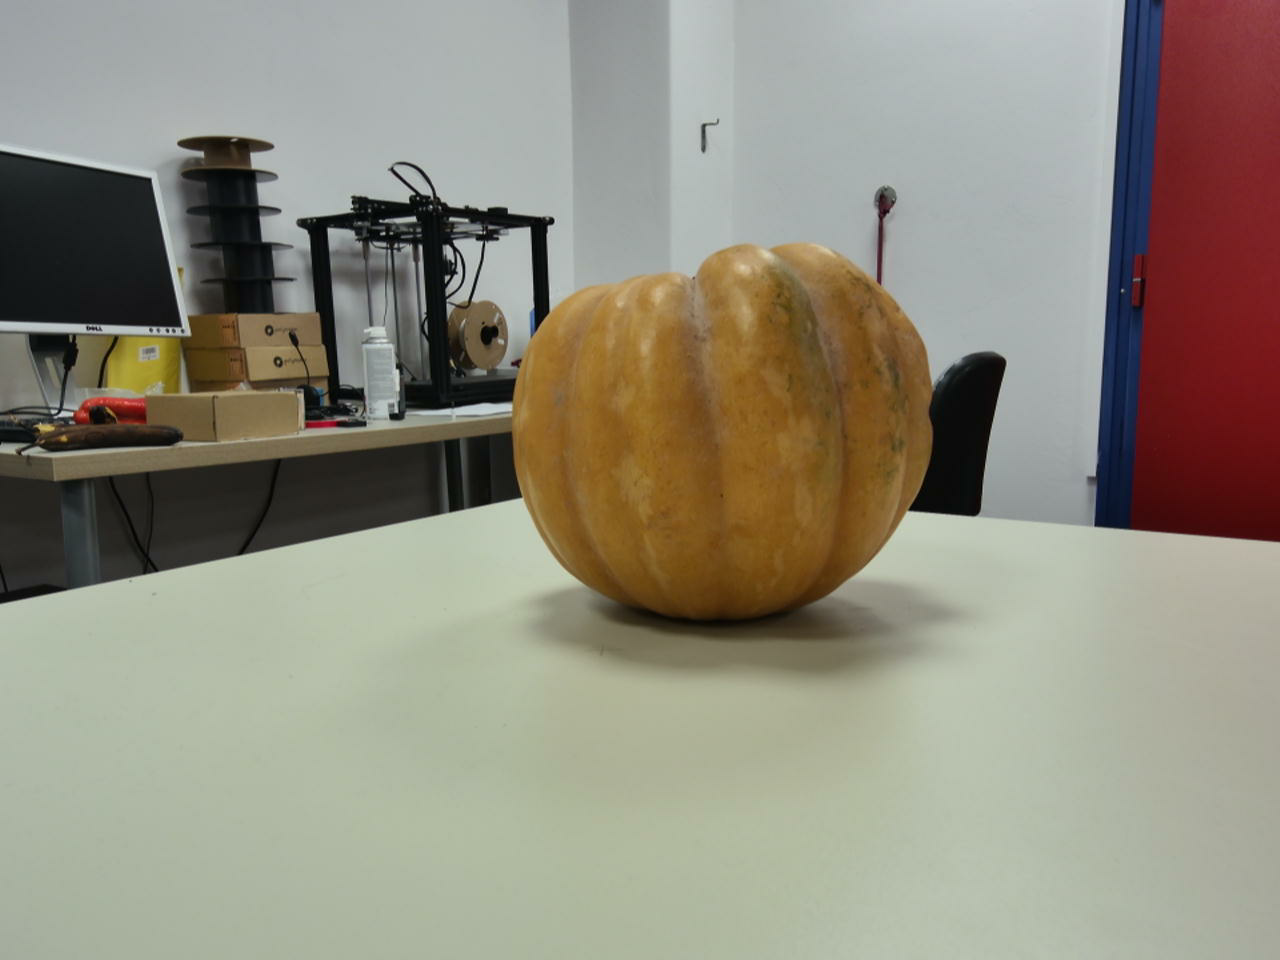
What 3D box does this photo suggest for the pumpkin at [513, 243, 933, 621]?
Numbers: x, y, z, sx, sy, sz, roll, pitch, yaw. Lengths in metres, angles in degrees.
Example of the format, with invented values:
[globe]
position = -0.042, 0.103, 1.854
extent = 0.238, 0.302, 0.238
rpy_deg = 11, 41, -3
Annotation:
[pumpkin]
position = 0.043, -0.025, 0.545
extent = 0.230, 0.194, 0.230
rpy_deg = 1, 6, 0
